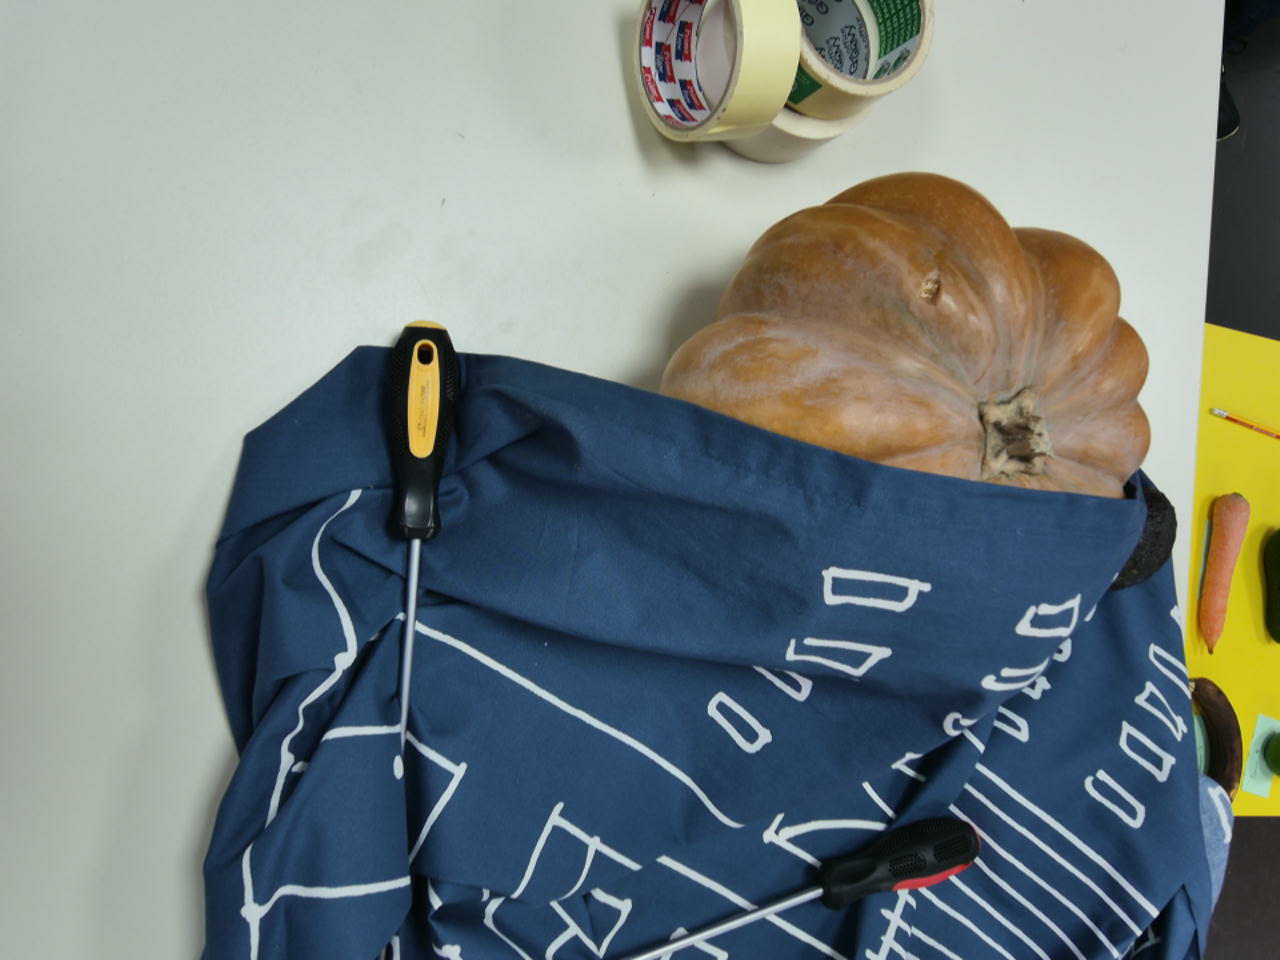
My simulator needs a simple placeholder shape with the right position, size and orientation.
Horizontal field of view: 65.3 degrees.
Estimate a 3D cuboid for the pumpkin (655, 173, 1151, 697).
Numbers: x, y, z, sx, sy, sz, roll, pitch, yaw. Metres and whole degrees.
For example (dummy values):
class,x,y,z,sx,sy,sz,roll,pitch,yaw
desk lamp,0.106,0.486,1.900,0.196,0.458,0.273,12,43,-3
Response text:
class,x,y,z,sx,sy,sz,roll,pitch,yaw
pumpkin,0.140,-0.023,0.528,0.277,0.181,0.277,0,91,-23
